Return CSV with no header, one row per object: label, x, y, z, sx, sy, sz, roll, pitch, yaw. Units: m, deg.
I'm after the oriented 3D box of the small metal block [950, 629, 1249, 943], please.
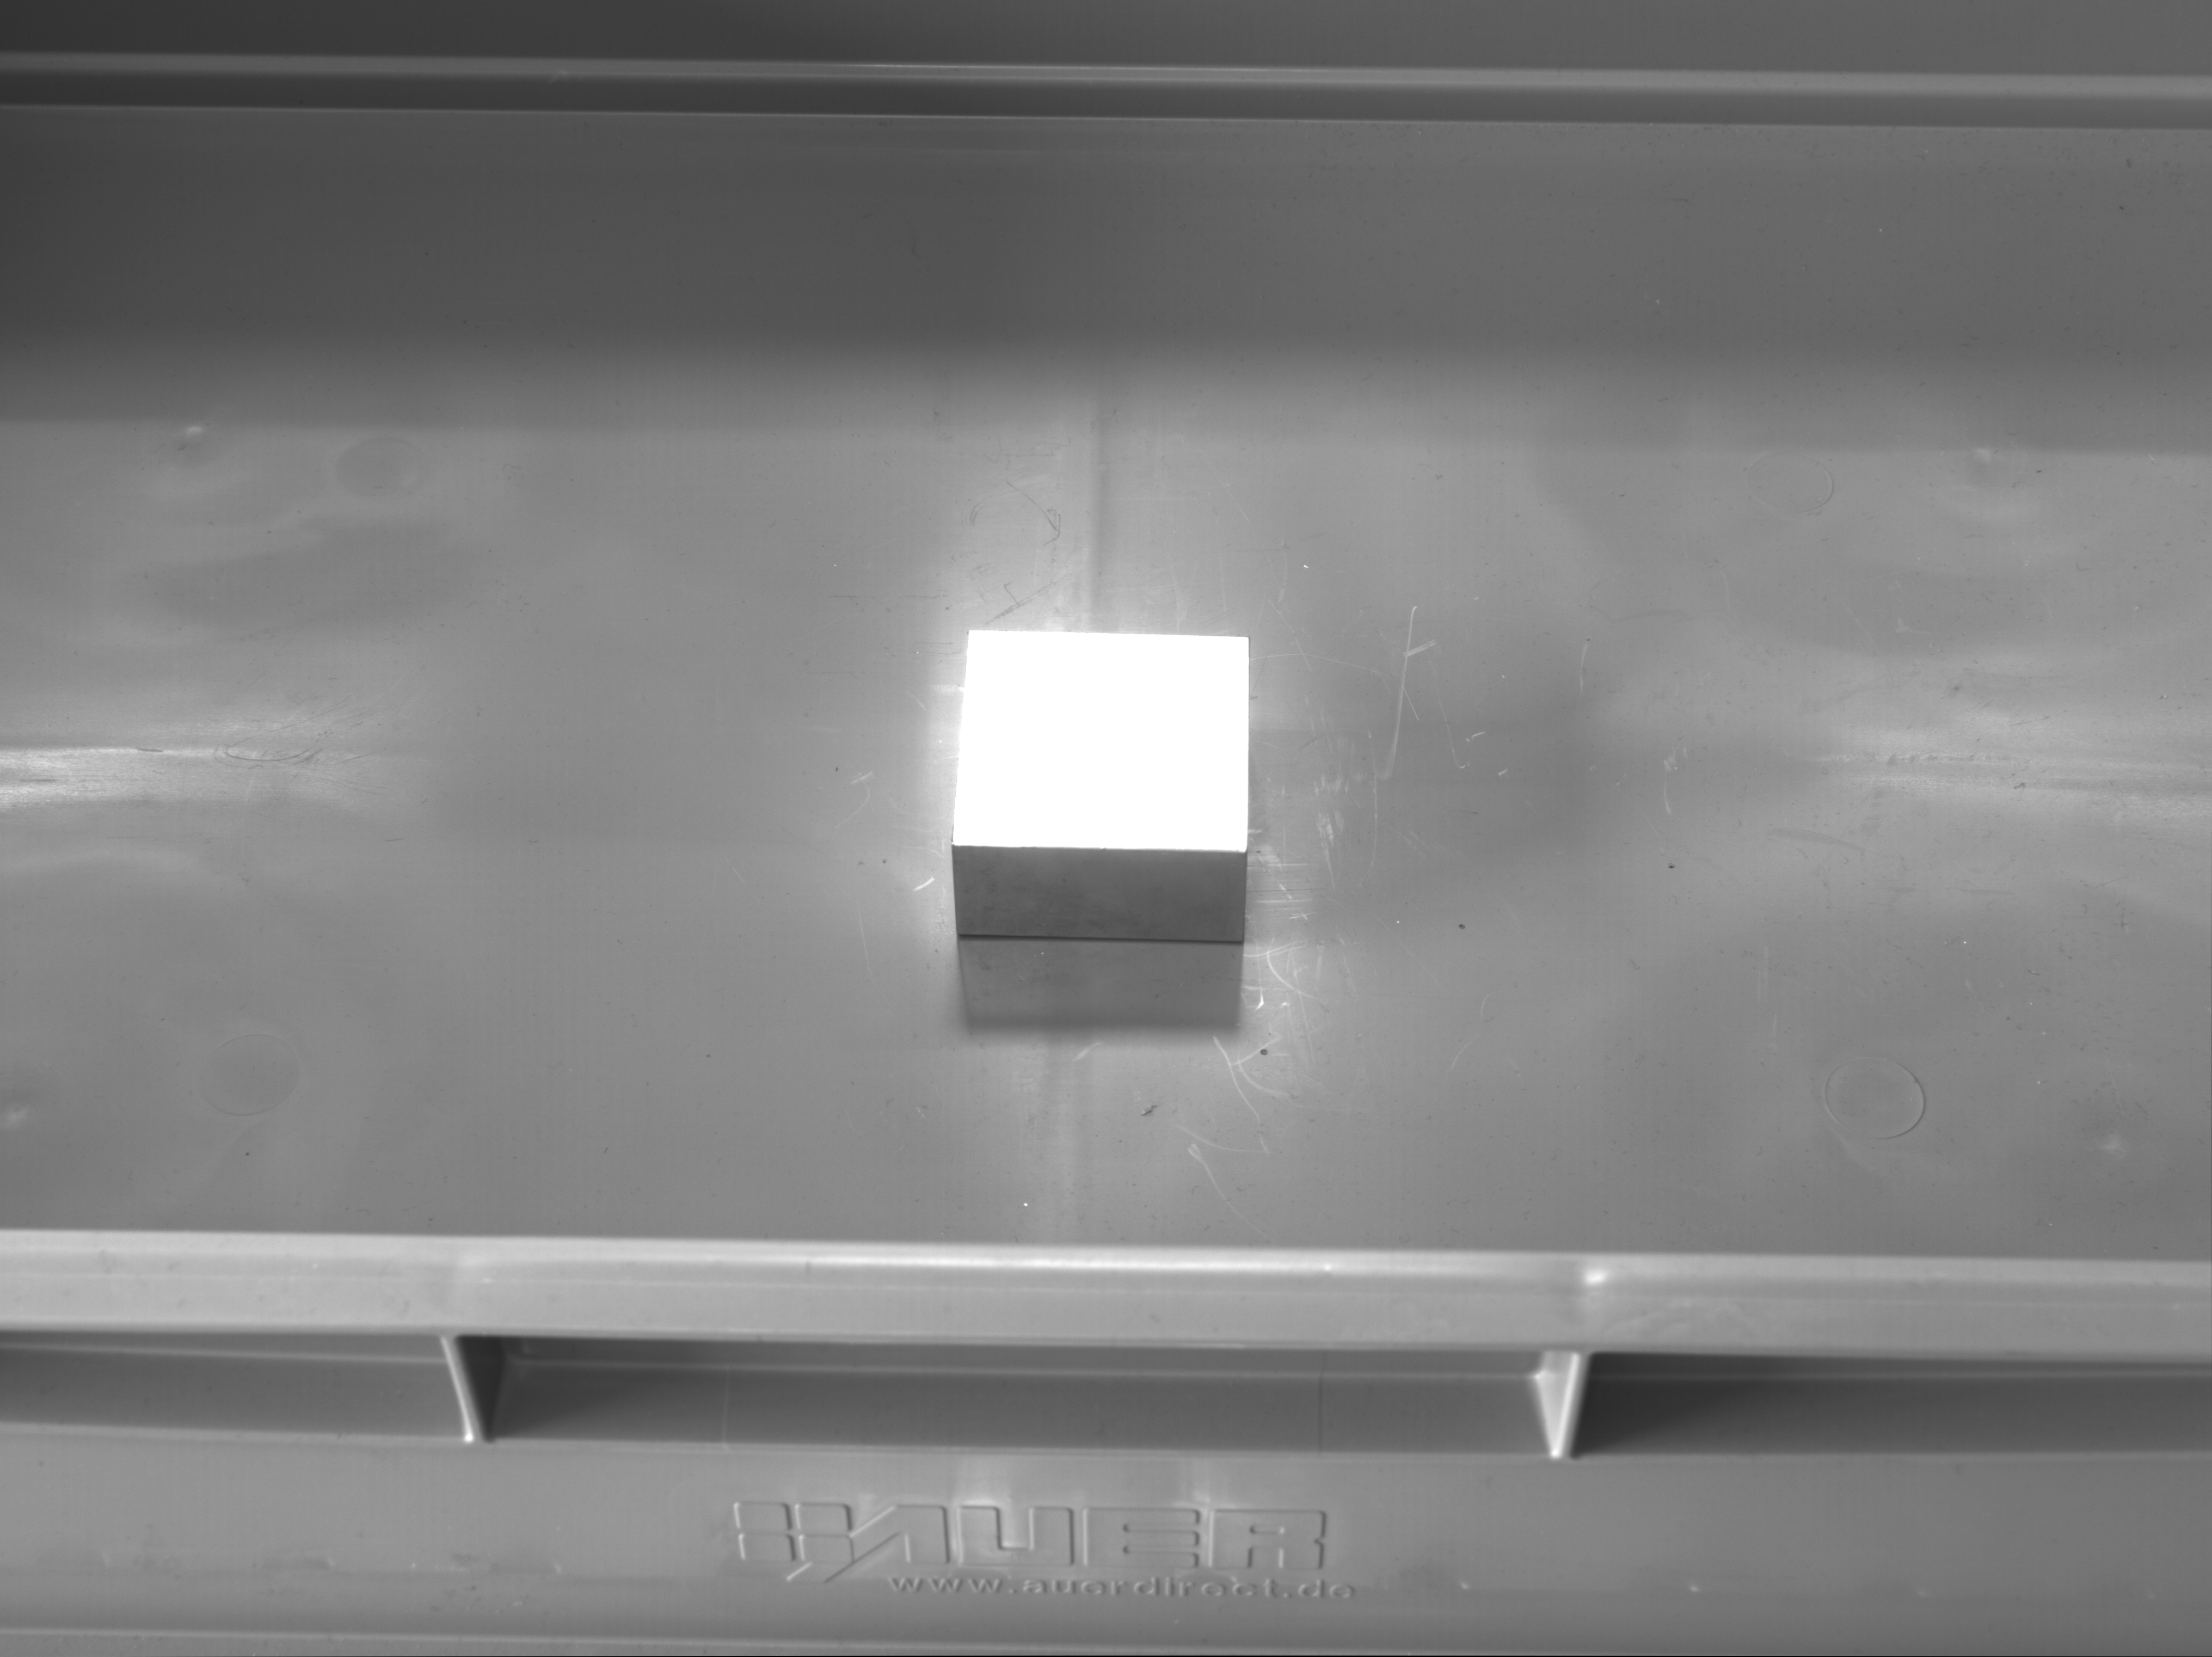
small metal block,0.000,-0.008,0.645,0.050,0.025,0.050,1,50,2
